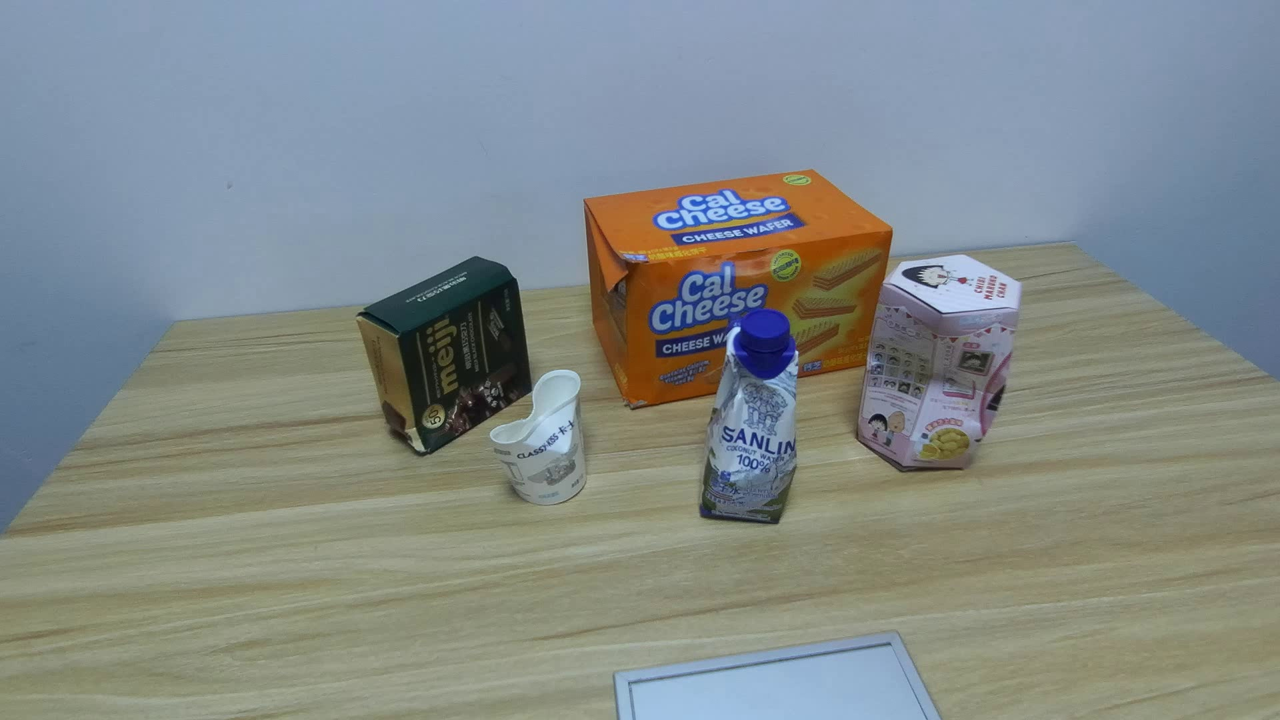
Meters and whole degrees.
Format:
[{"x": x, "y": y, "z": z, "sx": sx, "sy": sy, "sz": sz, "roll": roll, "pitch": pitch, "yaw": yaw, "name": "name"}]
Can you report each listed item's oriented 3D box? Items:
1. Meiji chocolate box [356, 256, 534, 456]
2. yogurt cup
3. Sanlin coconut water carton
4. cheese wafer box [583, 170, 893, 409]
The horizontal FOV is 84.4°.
[{"x": -0.147, "y": -0.006, "z": 0.548, "sx": 0.058, "sy": 0.116, "sz": 0.123, "roll": 26, "pitch": 42, "yaw": 34, "name": "Meiji chocolate box"}, {"x": -0.066, "y": 0.056, "z": 0.486, "sx": 0.053, "sy": 0.071, "sz": 0.075, "roll": -2, "pitch": 34, "yaw": 4, "name": "yogurt cup"}, {"x": 0.076, "y": 0.032, "z": 0.451, "sx": 0.057, "sy": 0.144, "sz": 0.068, "roll": 7, "pitch": 27, "yaw": 2, "name": "Sanlin coconut water carton"}, {"x": 0.074, "y": -0.069, "z": 0.607, "sx": 0.227, "sy": 0.137, "sz": 0.149, "roll": -10, "pitch": 35, "yaw": -12, "name": "cheese wafer box"}]
